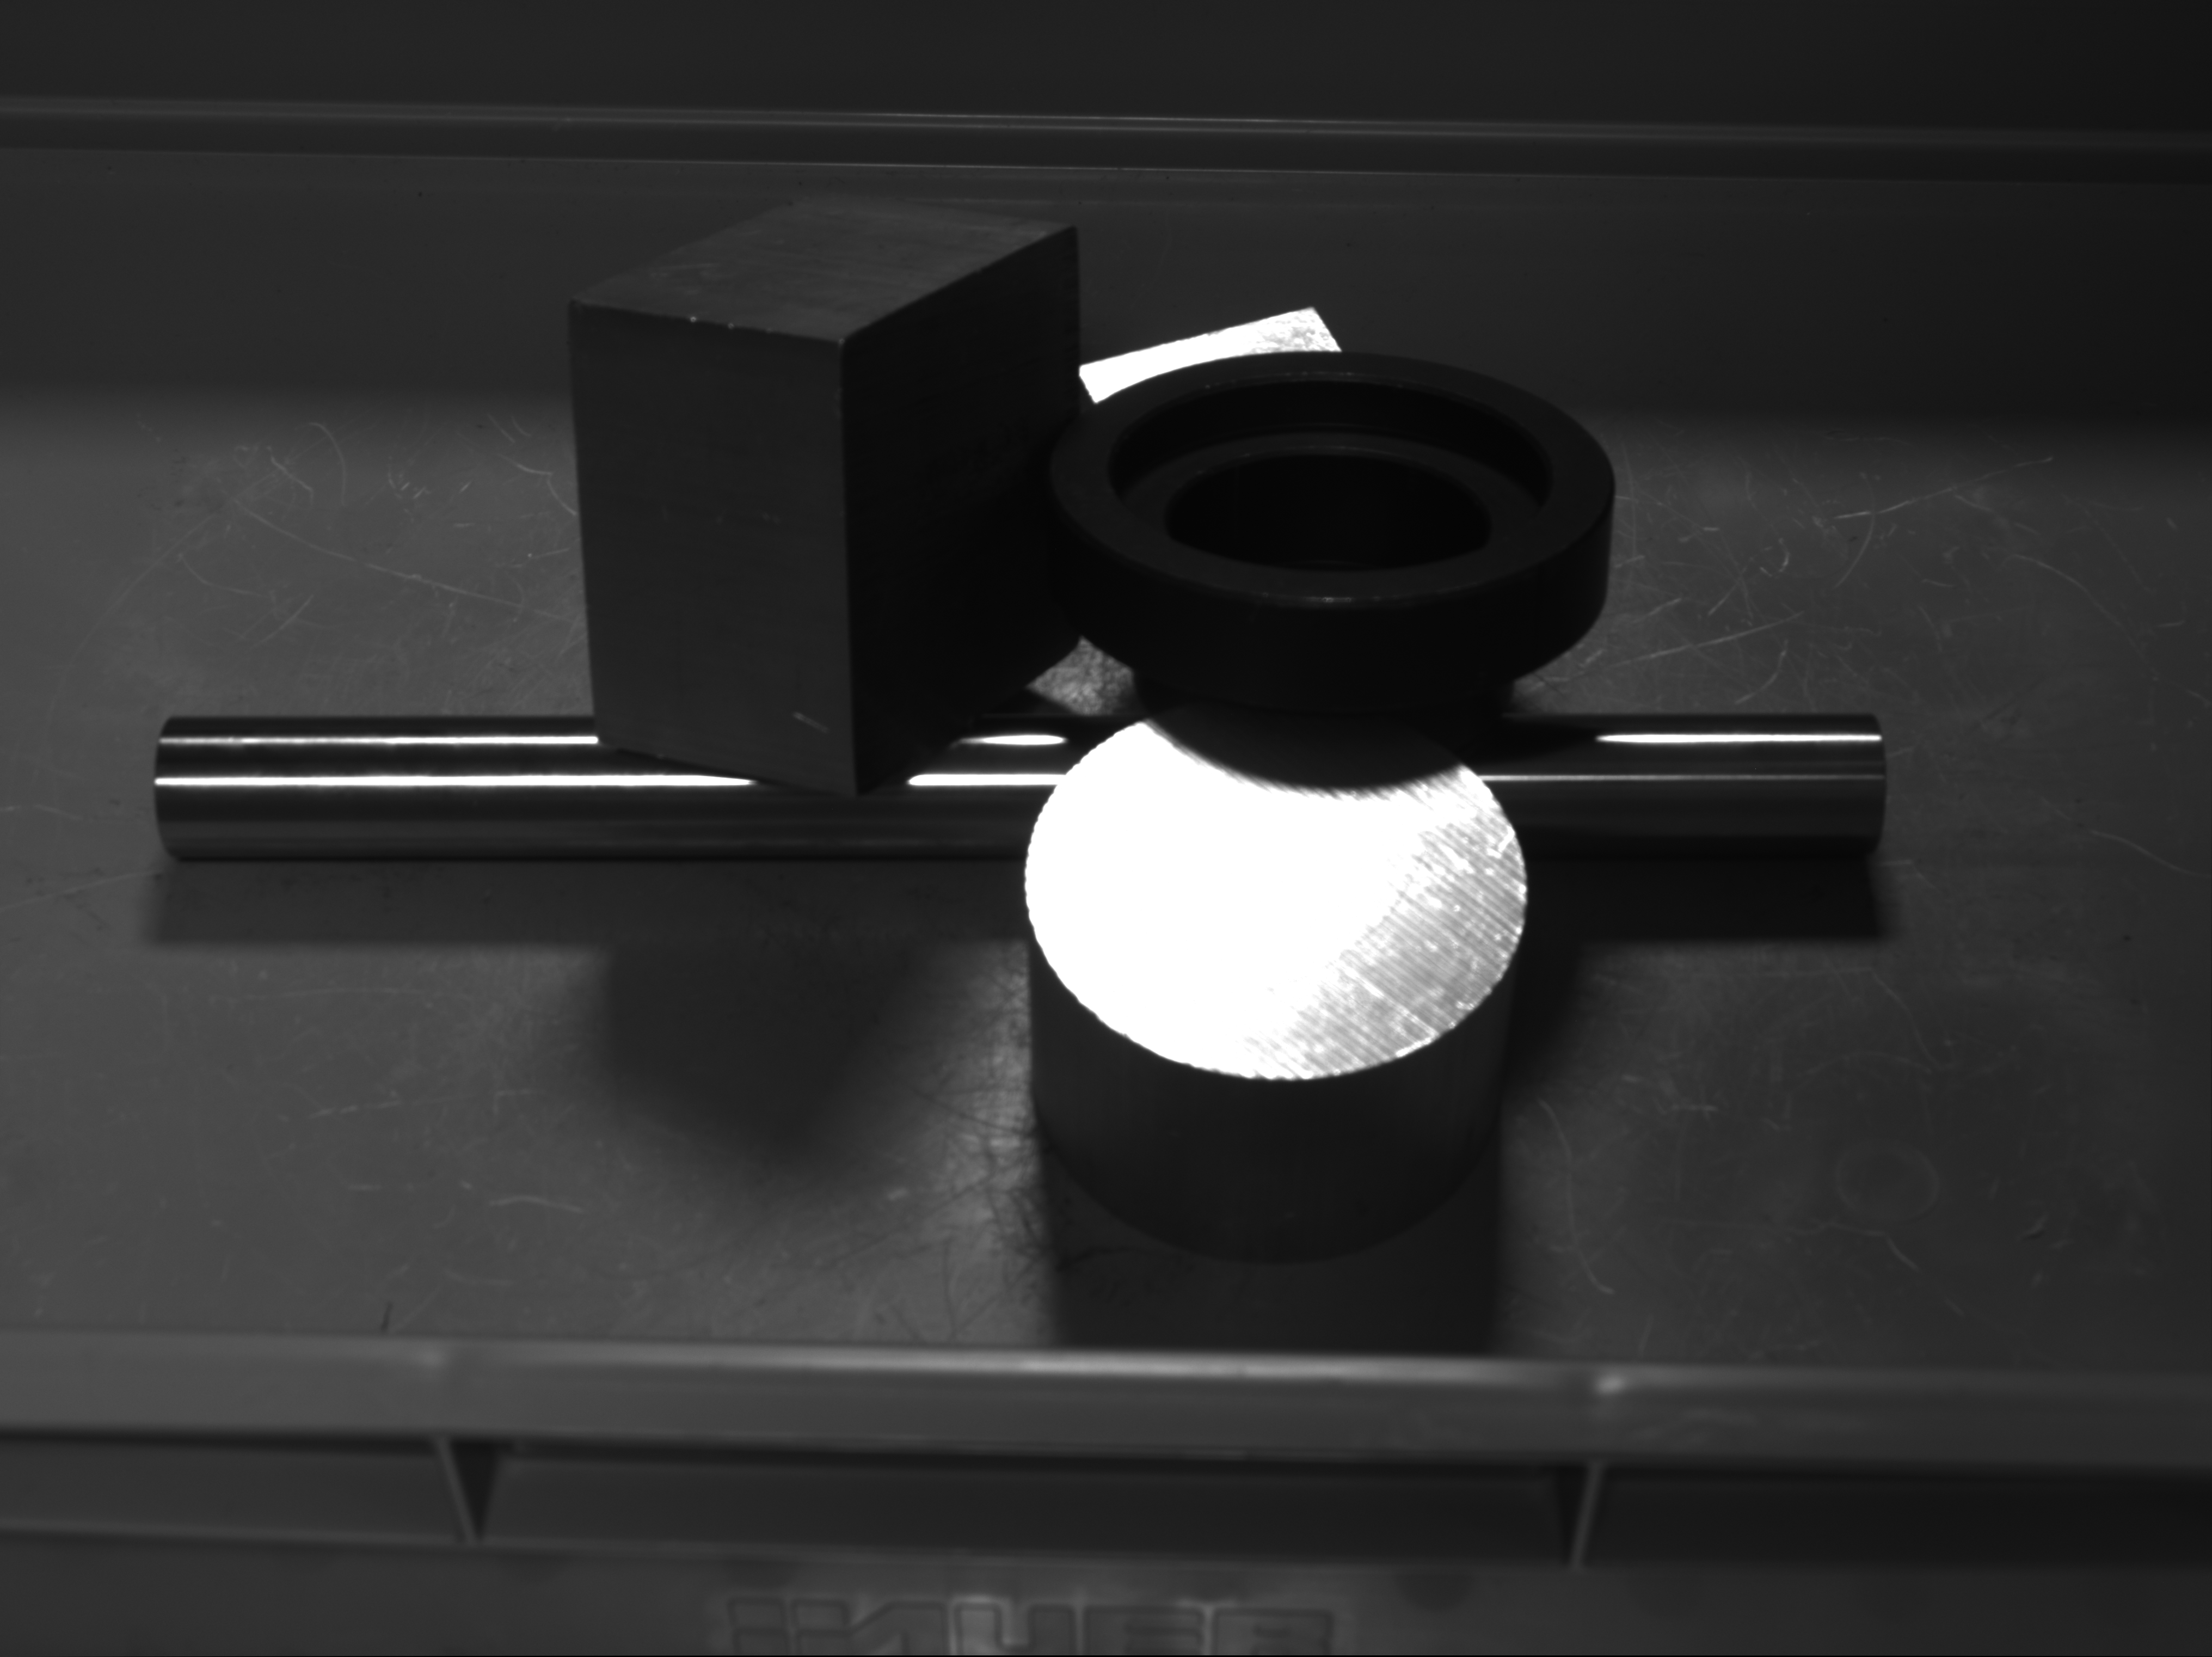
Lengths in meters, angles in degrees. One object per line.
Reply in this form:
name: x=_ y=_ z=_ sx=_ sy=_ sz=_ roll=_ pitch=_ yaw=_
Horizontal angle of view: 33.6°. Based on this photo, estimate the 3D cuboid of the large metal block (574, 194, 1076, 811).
large metal block: x=-0.046 y=-0.059 z=0.635 sx=0.050 sy=0.080 sz=0.080 roll=12 pitch=27 yaw=24

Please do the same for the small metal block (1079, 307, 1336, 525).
small metal block: x=0.026 y=-0.069 z=0.699 sx=0.050 sy=0.025 sz=0.050 roll=-16 pitch=52 yaw=-13

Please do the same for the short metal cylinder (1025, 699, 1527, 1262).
short metal cylinder: x=0.027 y=0.024 z=0.603 sx=0.080 sy=0.050 sz=0.080 roll=0 pitch=50 yaw=0

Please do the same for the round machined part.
round machined part: x=0.039 y=-0.044 z=0.642 sx=0.098 sy=0.042 sz=0.098 roll=0 pitch=32 yaw=0

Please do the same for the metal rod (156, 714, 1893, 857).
metal rod: x=-0.014 y=-0.008 z=0.645 sx=0.300 sy=0.025 sz=0.025 roll=0 pitch=50 yaw=0
